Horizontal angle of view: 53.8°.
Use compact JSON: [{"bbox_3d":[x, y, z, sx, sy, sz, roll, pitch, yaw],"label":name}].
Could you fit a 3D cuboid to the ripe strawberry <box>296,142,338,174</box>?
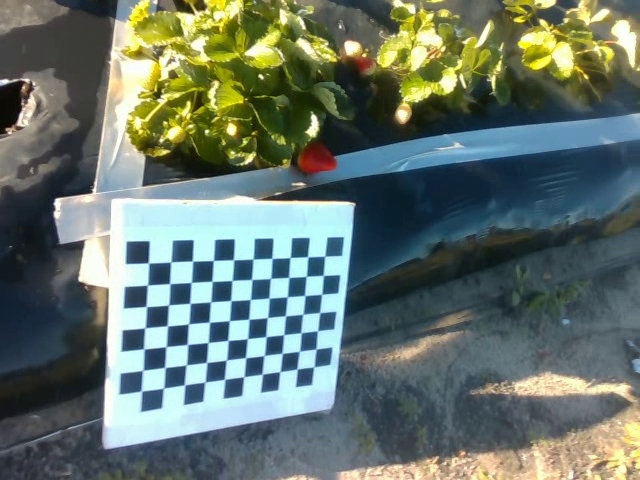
[{"bbox_3d":[-0.003,-0.100,0.782,0.063,0.045,0.048,28,1,31],"label":"ripe strawberry"}]
